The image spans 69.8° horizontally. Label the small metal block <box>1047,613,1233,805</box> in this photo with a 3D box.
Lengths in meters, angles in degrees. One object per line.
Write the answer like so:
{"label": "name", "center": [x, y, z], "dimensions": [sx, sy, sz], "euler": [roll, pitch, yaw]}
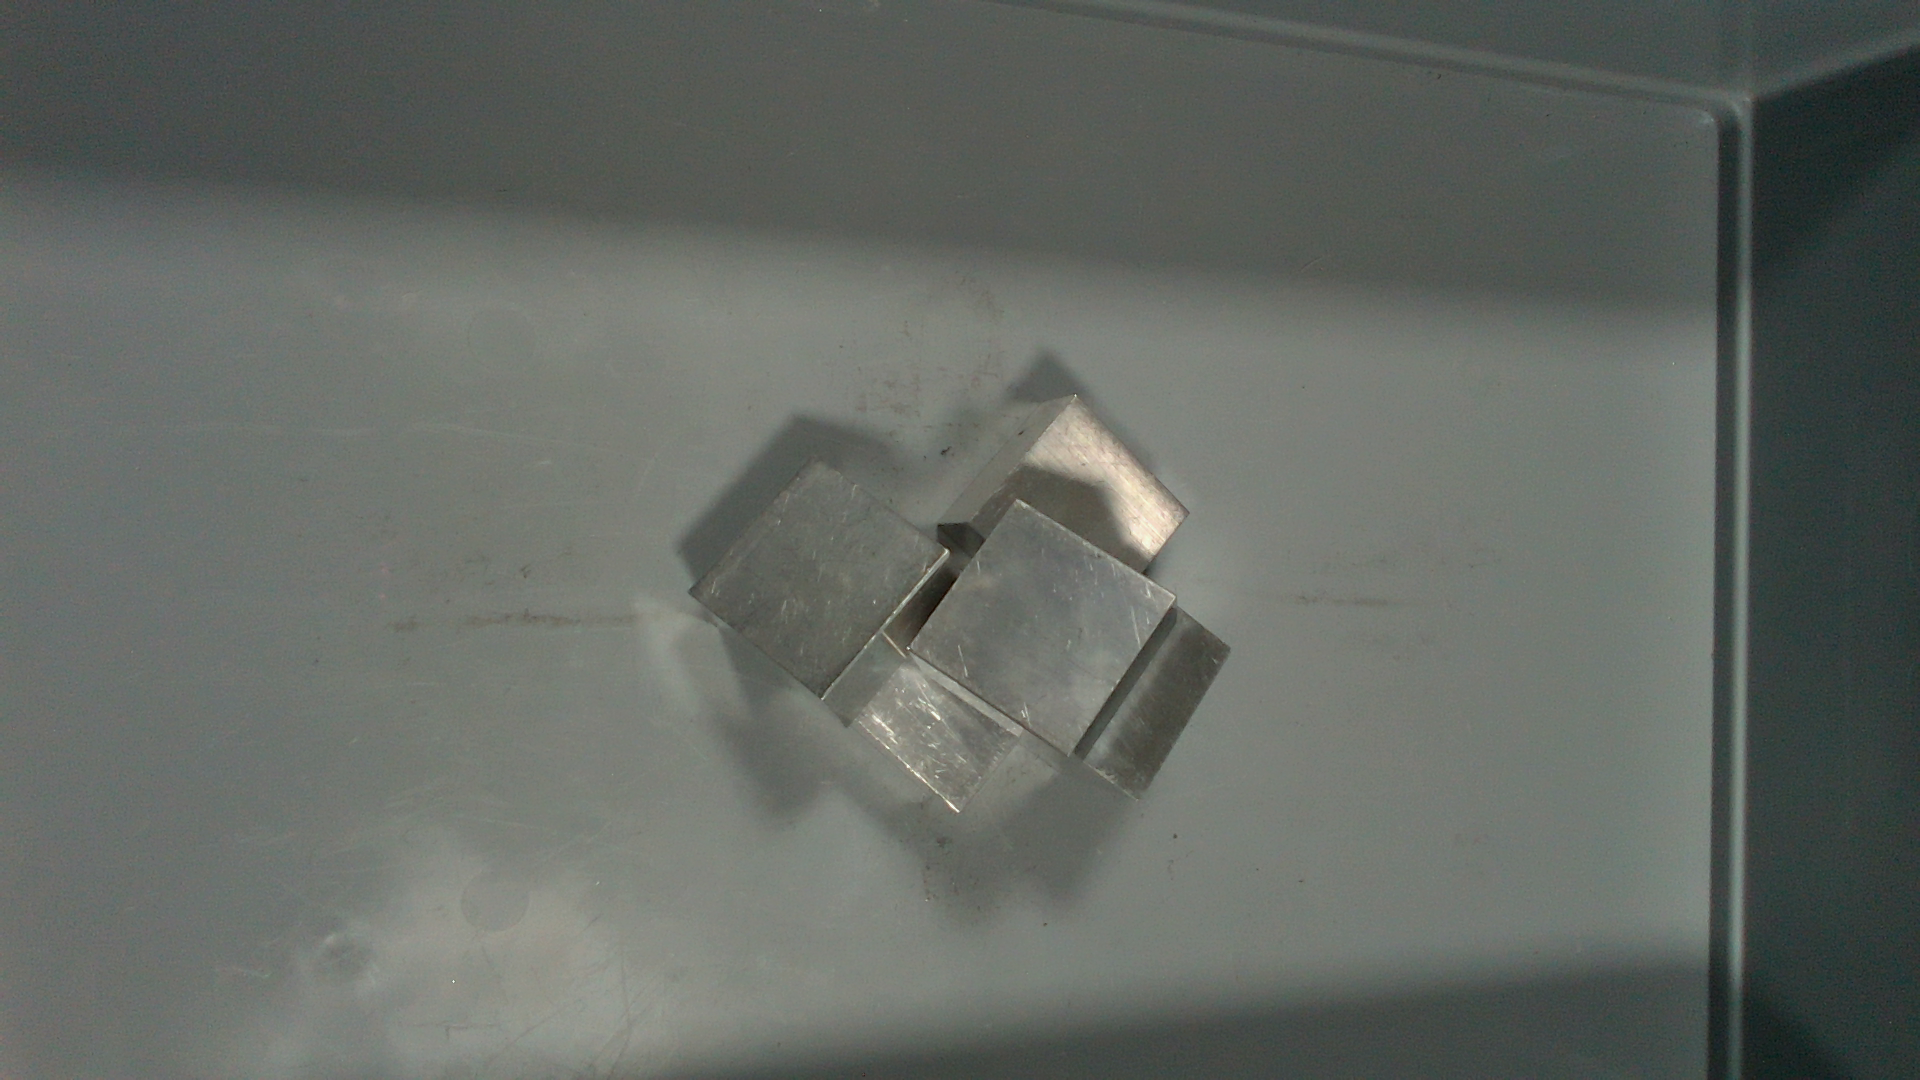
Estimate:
{"label": "small metal block", "center": [0.044, 0.044, 0.395], "dimensions": [0.025, 0.050, 0.050], "euler": [37, 78, -16]}

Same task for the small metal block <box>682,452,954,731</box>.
{"label": "small metal block", "center": [-0.036, 0.013, 0.366], "dimensions": [0.050, 0.025, 0.050], "euler": [35, 76, 23]}

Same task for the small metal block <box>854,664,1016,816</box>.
{"label": "small metal block", "center": [-0.006, 0.041, 0.390], "dimensions": [0.050, 0.025, 0.050], "euler": [44, 76, -15]}

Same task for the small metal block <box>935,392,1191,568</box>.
{"label": "small metal block", "center": [0.030, -0.007, 0.403], "dimensions": [0.050, 0.025, 0.050], "euler": [44, 76, -15]}

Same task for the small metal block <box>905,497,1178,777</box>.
{"label": "small metal block", "center": [0.022, 0.025, 0.361], "dimensions": [0.050, 0.025, 0.050], "euler": [32, 78, 17]}
